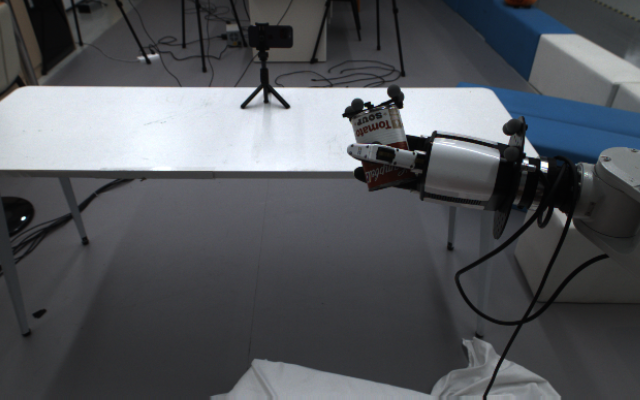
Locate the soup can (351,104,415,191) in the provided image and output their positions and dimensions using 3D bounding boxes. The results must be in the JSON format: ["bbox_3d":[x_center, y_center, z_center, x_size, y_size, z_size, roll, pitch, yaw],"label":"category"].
[{"bbox_3d":[0.086,-0.070,0.653,0.067,0.101,0.067,-14,-2,-1],"label":"soup can"}]
